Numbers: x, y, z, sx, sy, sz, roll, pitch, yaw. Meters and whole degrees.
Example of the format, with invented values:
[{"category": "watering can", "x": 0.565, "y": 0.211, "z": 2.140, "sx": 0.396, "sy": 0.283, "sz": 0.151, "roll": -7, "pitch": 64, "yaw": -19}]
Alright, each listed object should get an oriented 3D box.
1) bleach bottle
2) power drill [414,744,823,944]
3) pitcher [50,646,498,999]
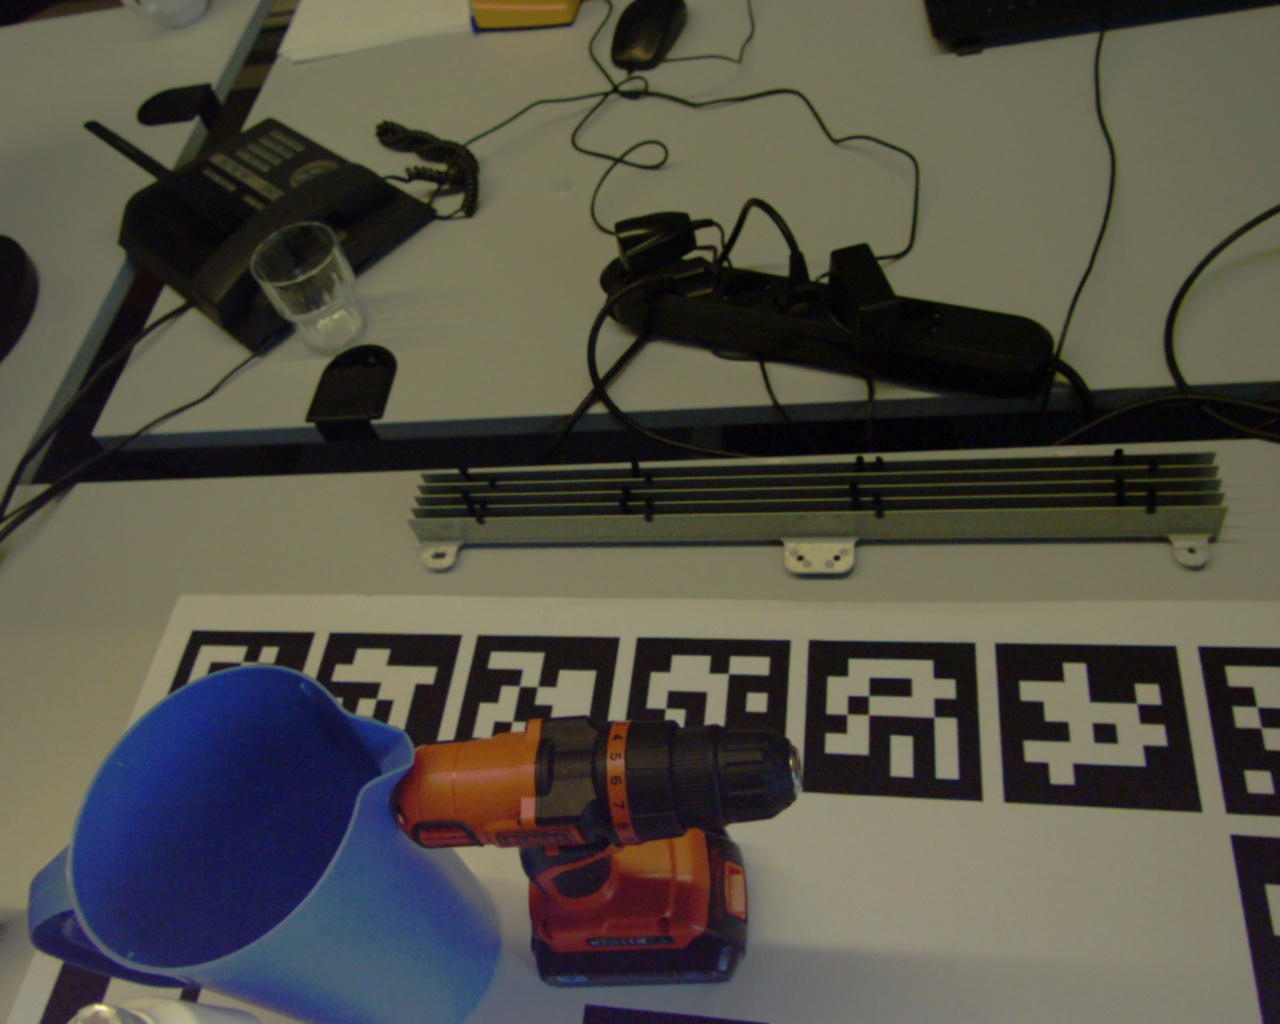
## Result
[{"category": "bleach bottle", "x": -0.196, "y": 0.259, "z": 0.529, "sx": 0.103, "sy": 0.248, "sz": 0.068, "roll": -8, "pitch": 55, "yaw": 10}, {"category": "power drill", "x": -0.003, "y": 0.169, "z": 0.571, "sx": 0.185, "sy": 0.186, "sz": 0.057, "roll": -3, "pitch": 58, "yaw": 7}, {"category": "pitcher", "x": -0.170, "y": 0.184, "z": 0.597, "sx": 0.189, "sy": 0.240, "sz": 0.134, "roll": -24, "pitch": 55, "yaw": -1}]
